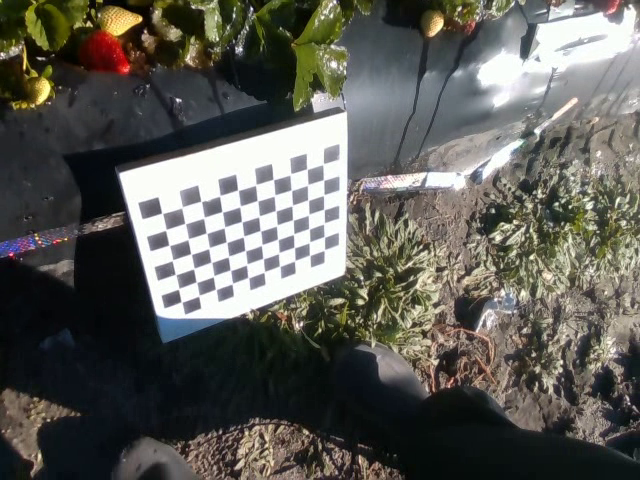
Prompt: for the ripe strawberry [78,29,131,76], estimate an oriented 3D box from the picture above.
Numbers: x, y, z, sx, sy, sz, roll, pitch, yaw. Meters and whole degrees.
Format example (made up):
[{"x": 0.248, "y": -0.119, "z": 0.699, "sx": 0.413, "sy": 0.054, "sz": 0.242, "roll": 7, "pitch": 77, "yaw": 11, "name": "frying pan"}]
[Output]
[{"x": -0.188, "y": -0.162, "z": 0.545, "sx": 0.053, "sy": 0.040, "sz": 0.042, "roll": 41, "pitch": 1, "yaw": 18, "name": "ripe strawberry"}]
